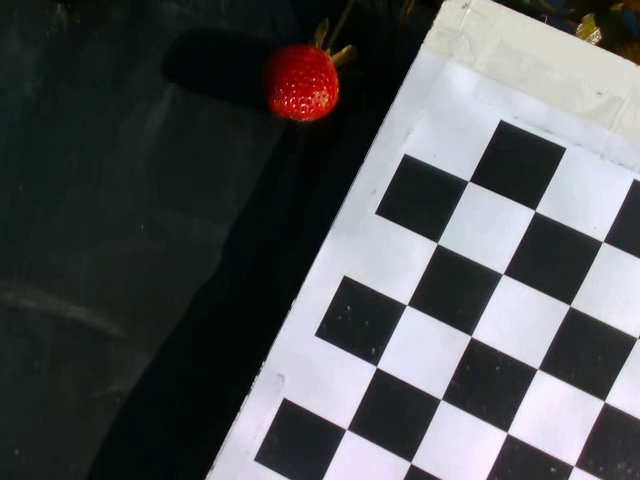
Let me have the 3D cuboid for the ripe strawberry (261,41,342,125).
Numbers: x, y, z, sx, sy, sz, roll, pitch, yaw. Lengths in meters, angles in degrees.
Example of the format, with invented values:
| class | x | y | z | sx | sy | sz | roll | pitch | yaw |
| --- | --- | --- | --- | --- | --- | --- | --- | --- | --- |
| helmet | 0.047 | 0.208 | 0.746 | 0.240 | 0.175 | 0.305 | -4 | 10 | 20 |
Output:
| class | x | y | z | sx | sy | sz | roll | pitch | yaw |
| --- | --- | --- | --- | --- | --- | --- | --- | --- | --- |
| ripe strawberry | -0.007 | -0.047 | 0.164 | 0.034 | 0.033 | 0.038 | 25 | 37 | 4 |
